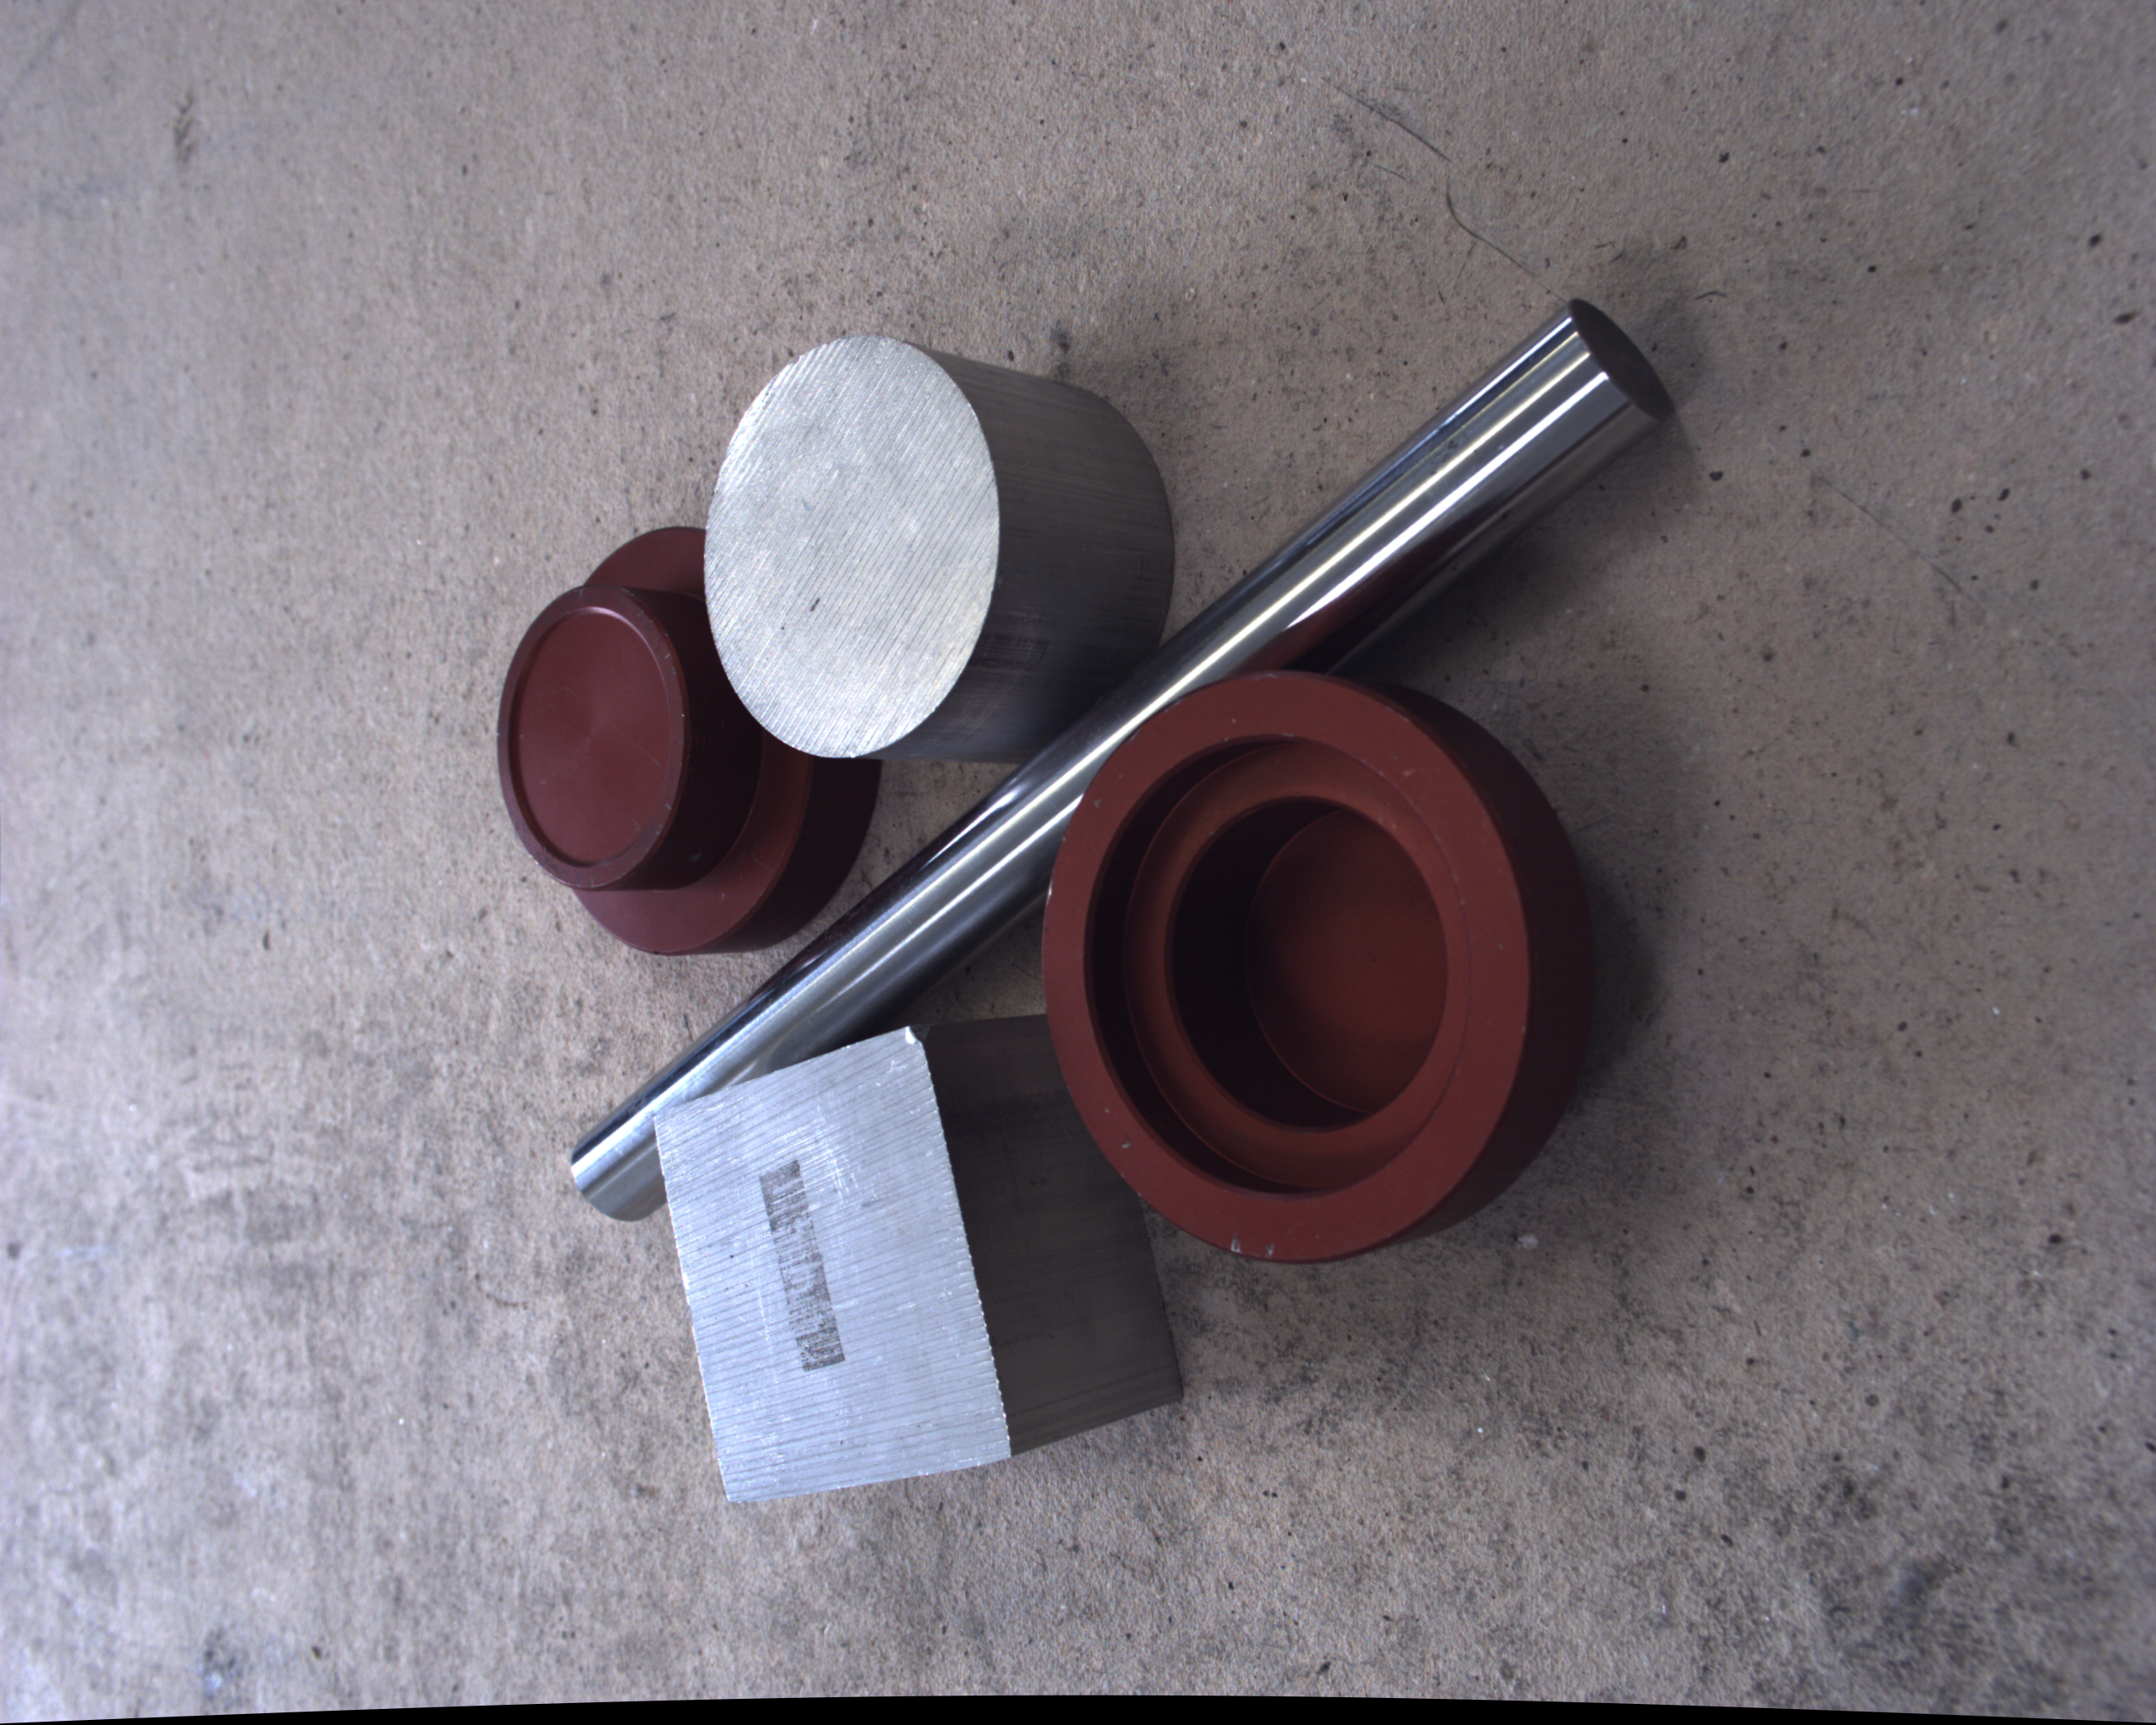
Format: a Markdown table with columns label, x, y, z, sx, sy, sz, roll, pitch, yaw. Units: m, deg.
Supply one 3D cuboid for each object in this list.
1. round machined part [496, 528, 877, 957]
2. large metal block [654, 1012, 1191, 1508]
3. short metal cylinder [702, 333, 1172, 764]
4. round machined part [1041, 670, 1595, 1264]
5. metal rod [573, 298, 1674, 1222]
| label | x | y | z | sx | sy | sz | roll | pitch | yaw |
| --- | --- | --- | --- | --- | --- | --- | --- | --- | --- |
| round machined part | -0.095 | -0.027 | 0.473 | 0.098 | 0.042 | 0.097 | 0 | 90 | 40 |
| large metal block | -0.033 | 0.079 | 0.418 | 0.080 | 0.050 | 0.080 | -22 | 76 | 38 |
| short metal cylinder | -0.029 | -0.060 | 0.413 | 0.080 | 0.050 | 0.079 | 0 | 90 | 40 |
| round machined part | 0.044 | 0.017 | 0.359 | 0.098 | 0.042 | 0.097 | 0 | 90 | 40 |
| metal rod | -0.011 | -0.003 | 0.417 | 0.299 | 0.025 | 0.025 | -38 | 67 | 33 |
